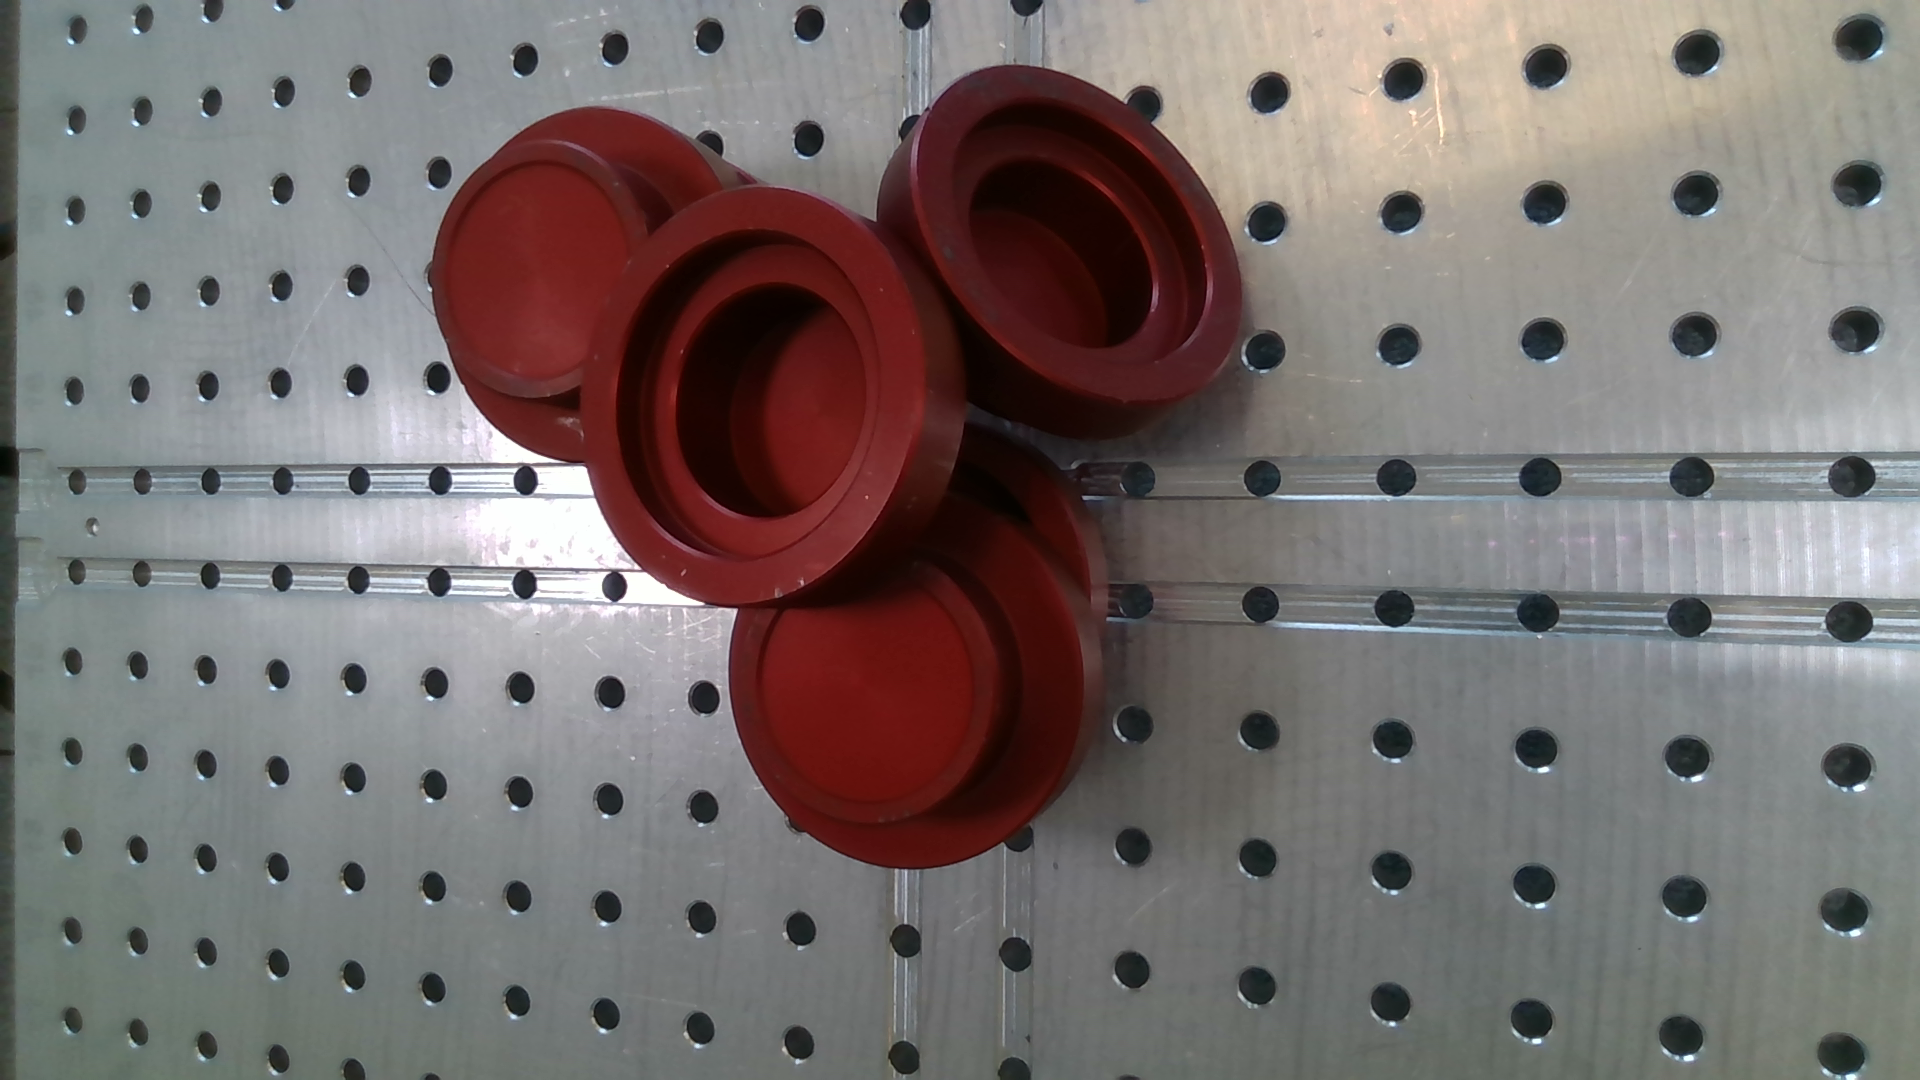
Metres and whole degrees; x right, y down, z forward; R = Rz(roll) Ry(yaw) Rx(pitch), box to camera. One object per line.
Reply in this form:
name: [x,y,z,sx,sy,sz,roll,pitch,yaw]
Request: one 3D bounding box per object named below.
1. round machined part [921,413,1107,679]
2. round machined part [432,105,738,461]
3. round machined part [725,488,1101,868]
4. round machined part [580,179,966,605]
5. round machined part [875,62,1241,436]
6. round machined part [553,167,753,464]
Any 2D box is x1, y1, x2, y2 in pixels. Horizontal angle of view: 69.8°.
round machined part: [-0.013,0.013,0.370,0.098,0.042,0.098,0,90,20]
round machined part: [-0.104,-0.071,0.380,0.098,0.042,0.098,0,90,20]
round machined part: [-0.017,0.034,0.348,0.098,0.042,0.098,0,90,19]
round machined part: [-0.041,-0.033,0.334,0.098,0.042,0.098,-2,87,28]
round machined part: [0.022,-0.071,0.358,0.042,0.098,0.098,-38,75,52]
round machined part: [-0.087,-0.064,0.397,0.098,0.042,0.098,0,90,20]
